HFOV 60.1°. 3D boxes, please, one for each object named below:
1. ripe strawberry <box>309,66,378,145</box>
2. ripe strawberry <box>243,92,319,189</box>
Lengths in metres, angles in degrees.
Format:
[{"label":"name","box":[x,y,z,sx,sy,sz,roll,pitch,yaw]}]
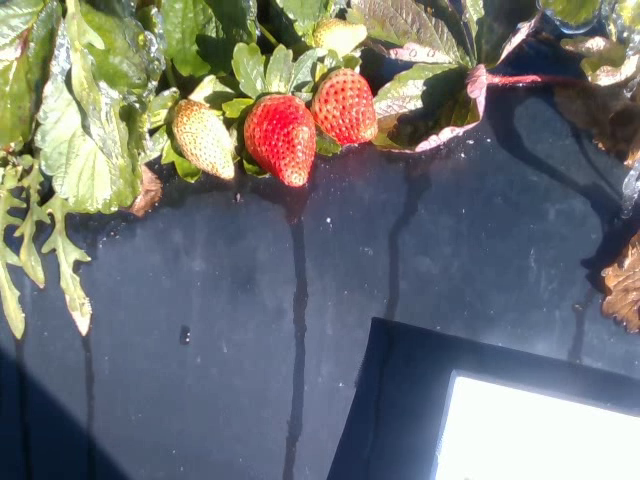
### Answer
[{"label":"ripe strawberry","box":[0.016,-0.063,0.268,0.041,0.036,0.030,39,5,10]},{"label":"ripe strawberry","box":[-0.014,-0.041,0.254,0.036,0.052,0.040,-27,-39,6]}]
